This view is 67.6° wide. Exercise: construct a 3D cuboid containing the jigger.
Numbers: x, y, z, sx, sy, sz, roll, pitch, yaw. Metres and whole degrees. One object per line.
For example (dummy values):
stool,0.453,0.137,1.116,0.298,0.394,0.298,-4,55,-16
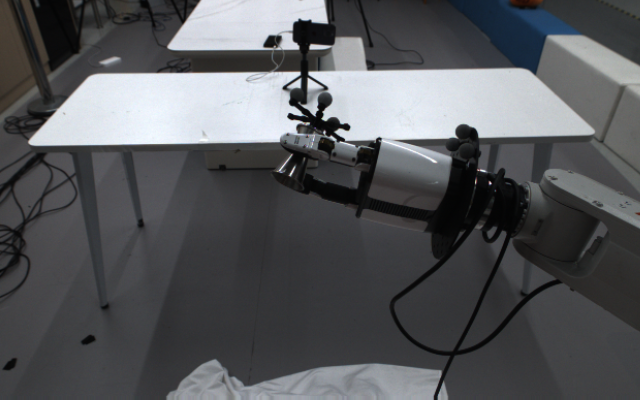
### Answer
jigger,-0.024,-0.053,0.569,0.043,0.043,0.071,19,72,23
